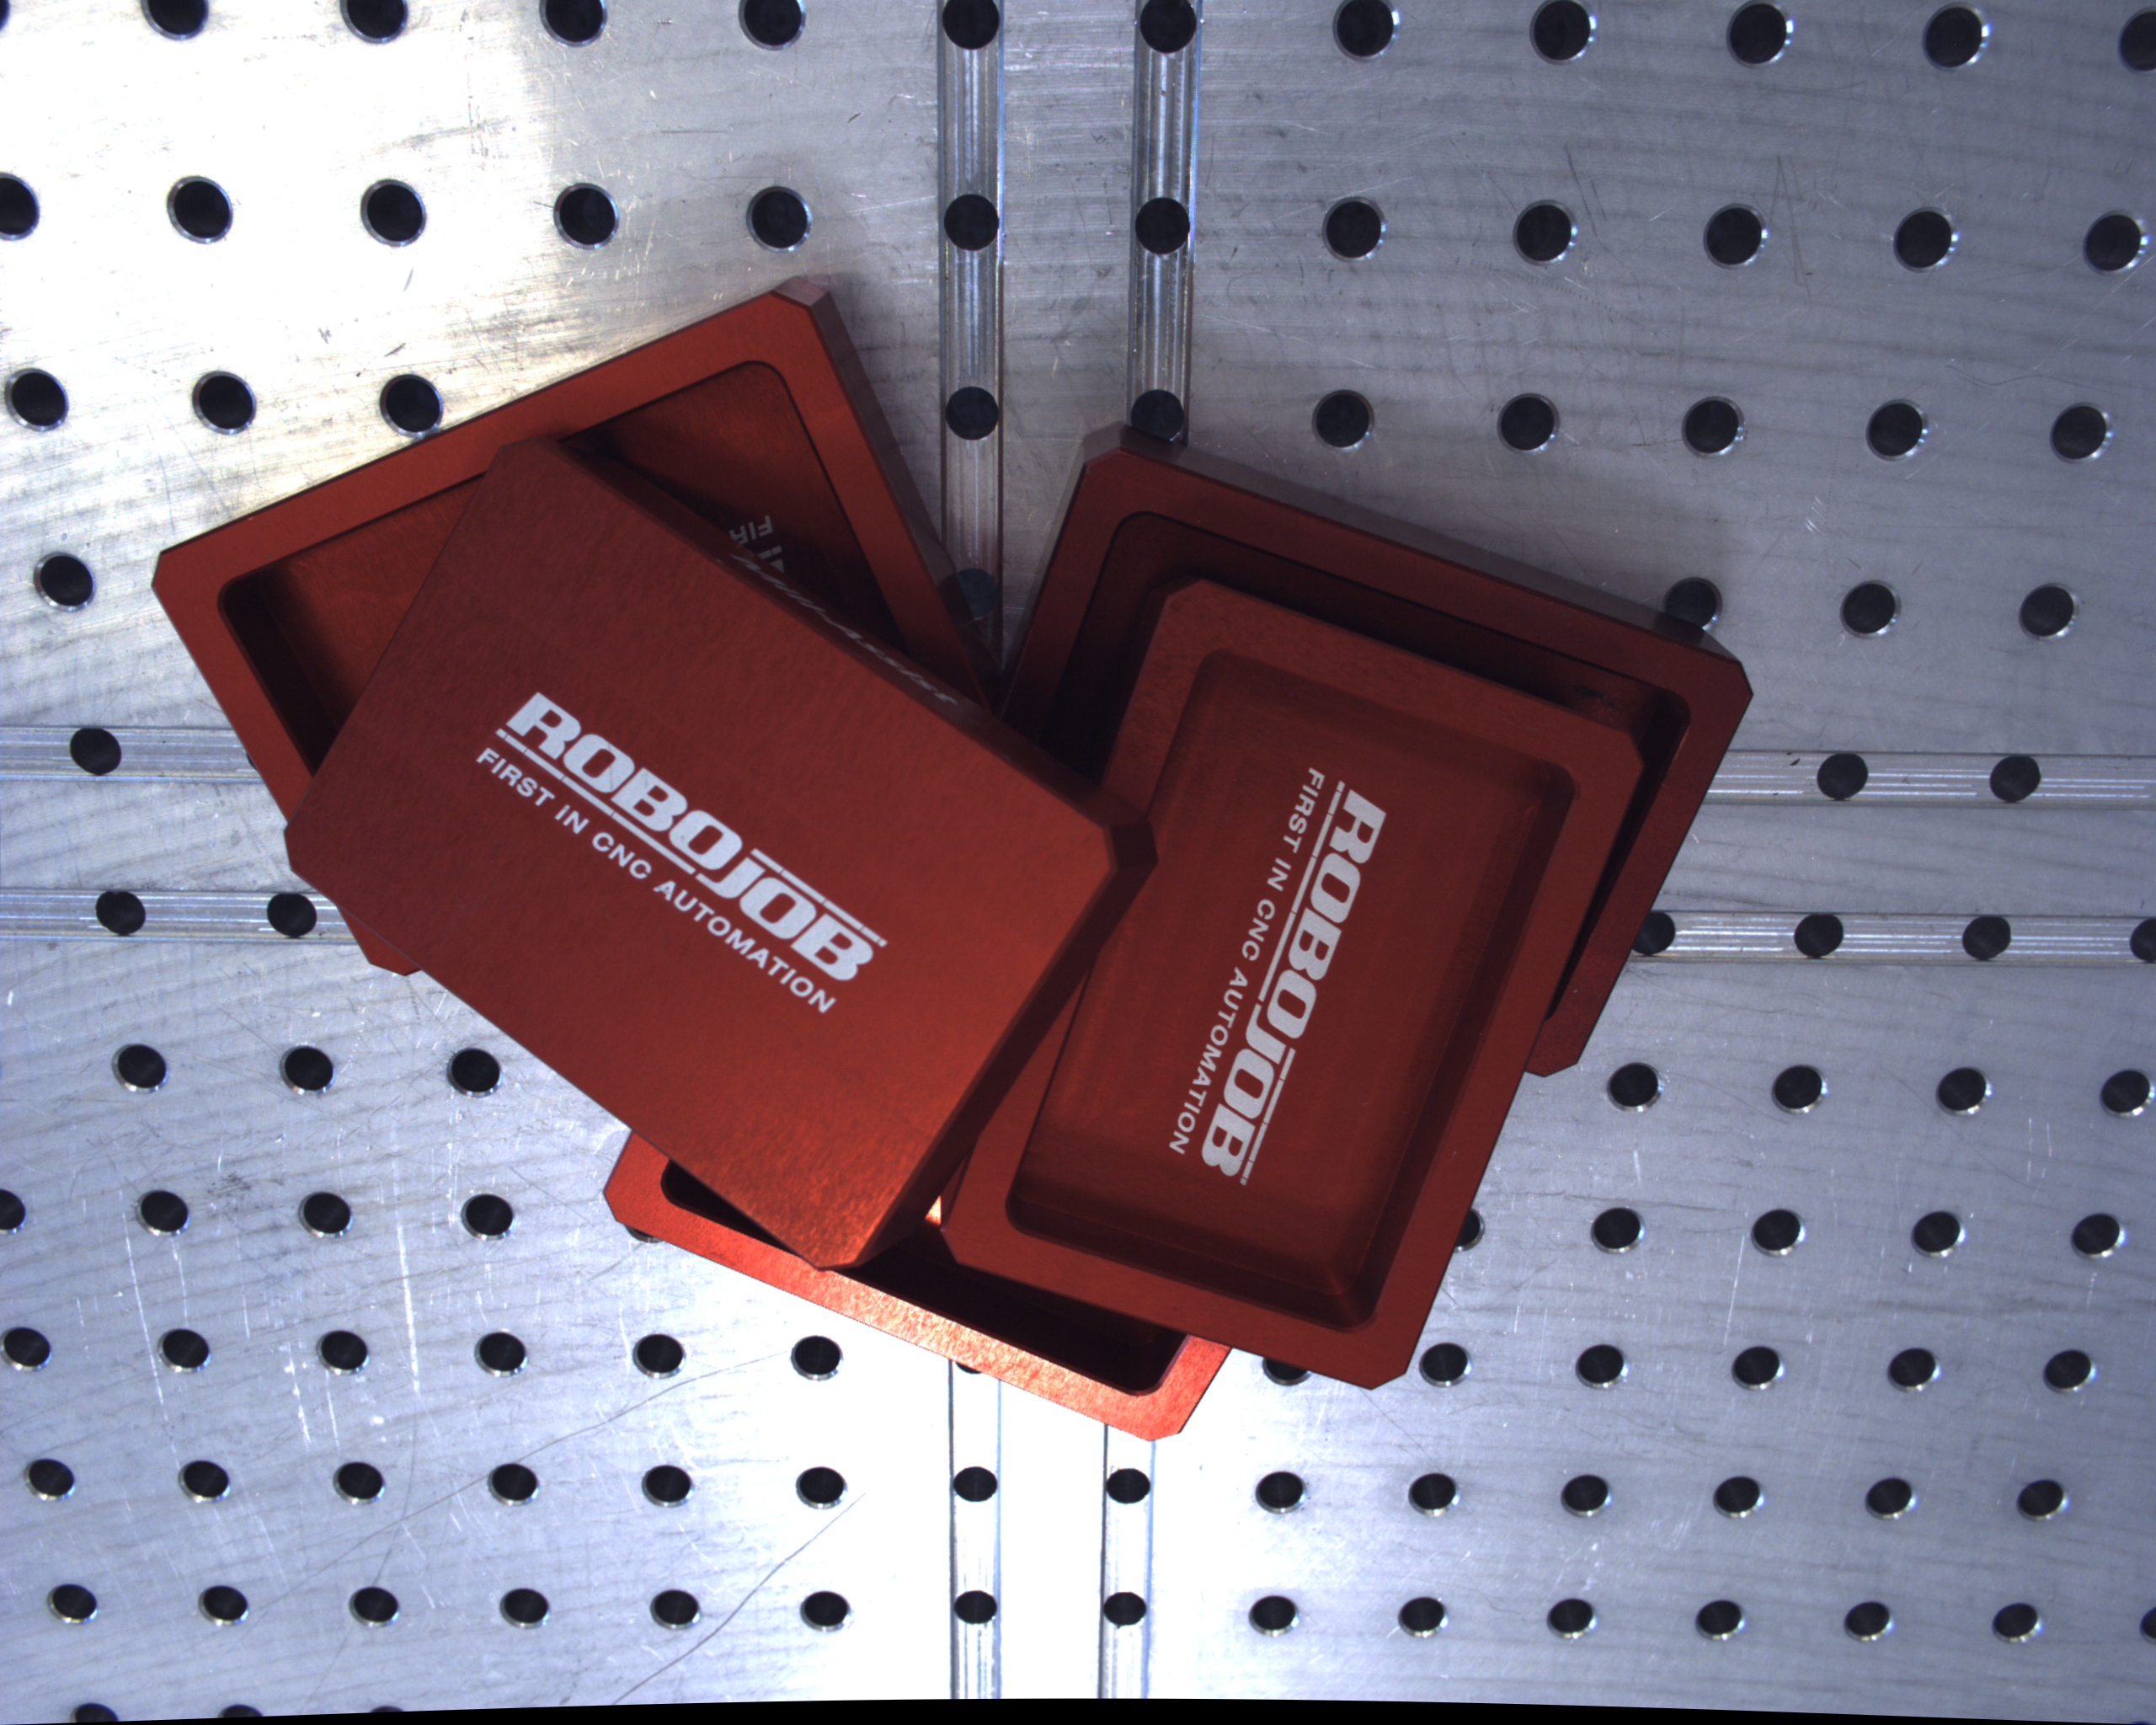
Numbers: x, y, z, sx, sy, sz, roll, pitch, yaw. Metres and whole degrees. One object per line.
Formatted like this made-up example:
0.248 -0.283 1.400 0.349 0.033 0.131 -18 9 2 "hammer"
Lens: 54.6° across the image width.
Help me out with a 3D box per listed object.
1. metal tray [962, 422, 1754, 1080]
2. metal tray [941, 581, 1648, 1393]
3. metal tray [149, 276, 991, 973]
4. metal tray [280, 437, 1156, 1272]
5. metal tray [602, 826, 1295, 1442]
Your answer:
0.049 -0.020 0.402 0.131 0.030 0.089 18 109 -6 "metal tray"
0.037 0.022 0.386 0.090 0.030 0.129 19 97 -7 "metal tray"
-0.092 -0.044 0.394 0.130 0.030 0.090 -21 109 8 "metal tray"
-0.064 -0.003 0.366 0.130 0.030 0.090 34 100 11 "metal tray"
-0.019 0.055 0.431 0.131 0.030 0.090 25 108 -9 "metal tray"
